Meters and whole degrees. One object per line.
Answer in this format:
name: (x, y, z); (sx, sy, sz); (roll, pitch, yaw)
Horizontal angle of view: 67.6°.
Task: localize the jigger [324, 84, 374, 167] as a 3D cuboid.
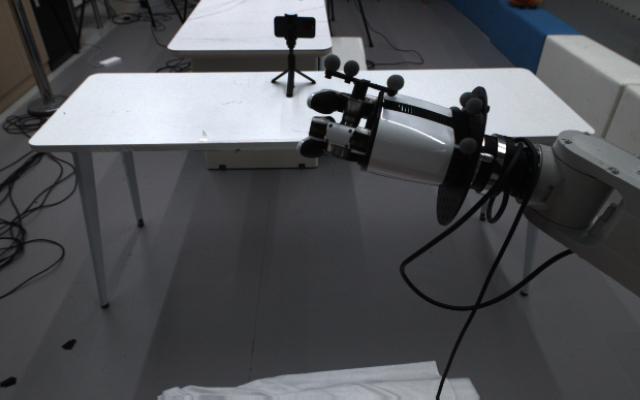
jigger: (0.036, -0.083, 0.552); (0.043, 0.071, 0.043); (15, 17, -5)
